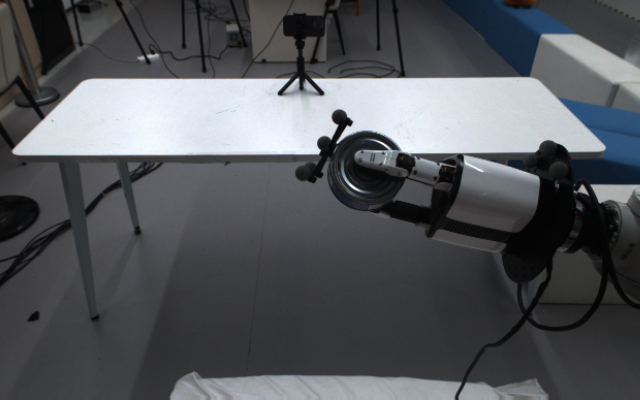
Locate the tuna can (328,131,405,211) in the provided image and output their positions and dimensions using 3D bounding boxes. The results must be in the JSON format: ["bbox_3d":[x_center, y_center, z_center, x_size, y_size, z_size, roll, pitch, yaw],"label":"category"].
[{"bbox_3d":[0.055,-0.034,0.541,0.085,0.034,0.085,1,75,-5],"label":"tuna can"}]
